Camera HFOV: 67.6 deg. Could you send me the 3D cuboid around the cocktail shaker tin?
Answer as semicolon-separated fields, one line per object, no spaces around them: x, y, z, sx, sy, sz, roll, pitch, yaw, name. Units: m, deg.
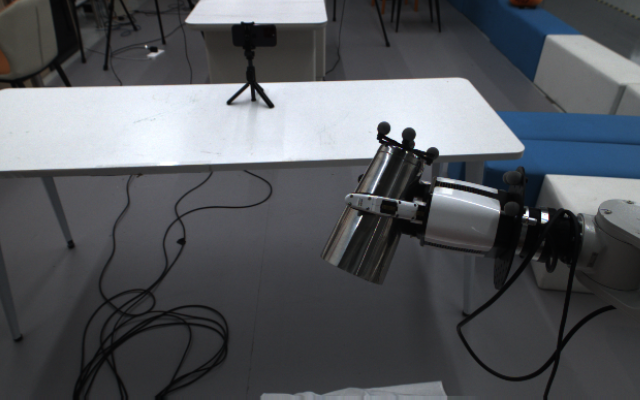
0.078;0.014;0.646;0.093;0.170;0.093;23;-1;0;cocktail shaker tin
